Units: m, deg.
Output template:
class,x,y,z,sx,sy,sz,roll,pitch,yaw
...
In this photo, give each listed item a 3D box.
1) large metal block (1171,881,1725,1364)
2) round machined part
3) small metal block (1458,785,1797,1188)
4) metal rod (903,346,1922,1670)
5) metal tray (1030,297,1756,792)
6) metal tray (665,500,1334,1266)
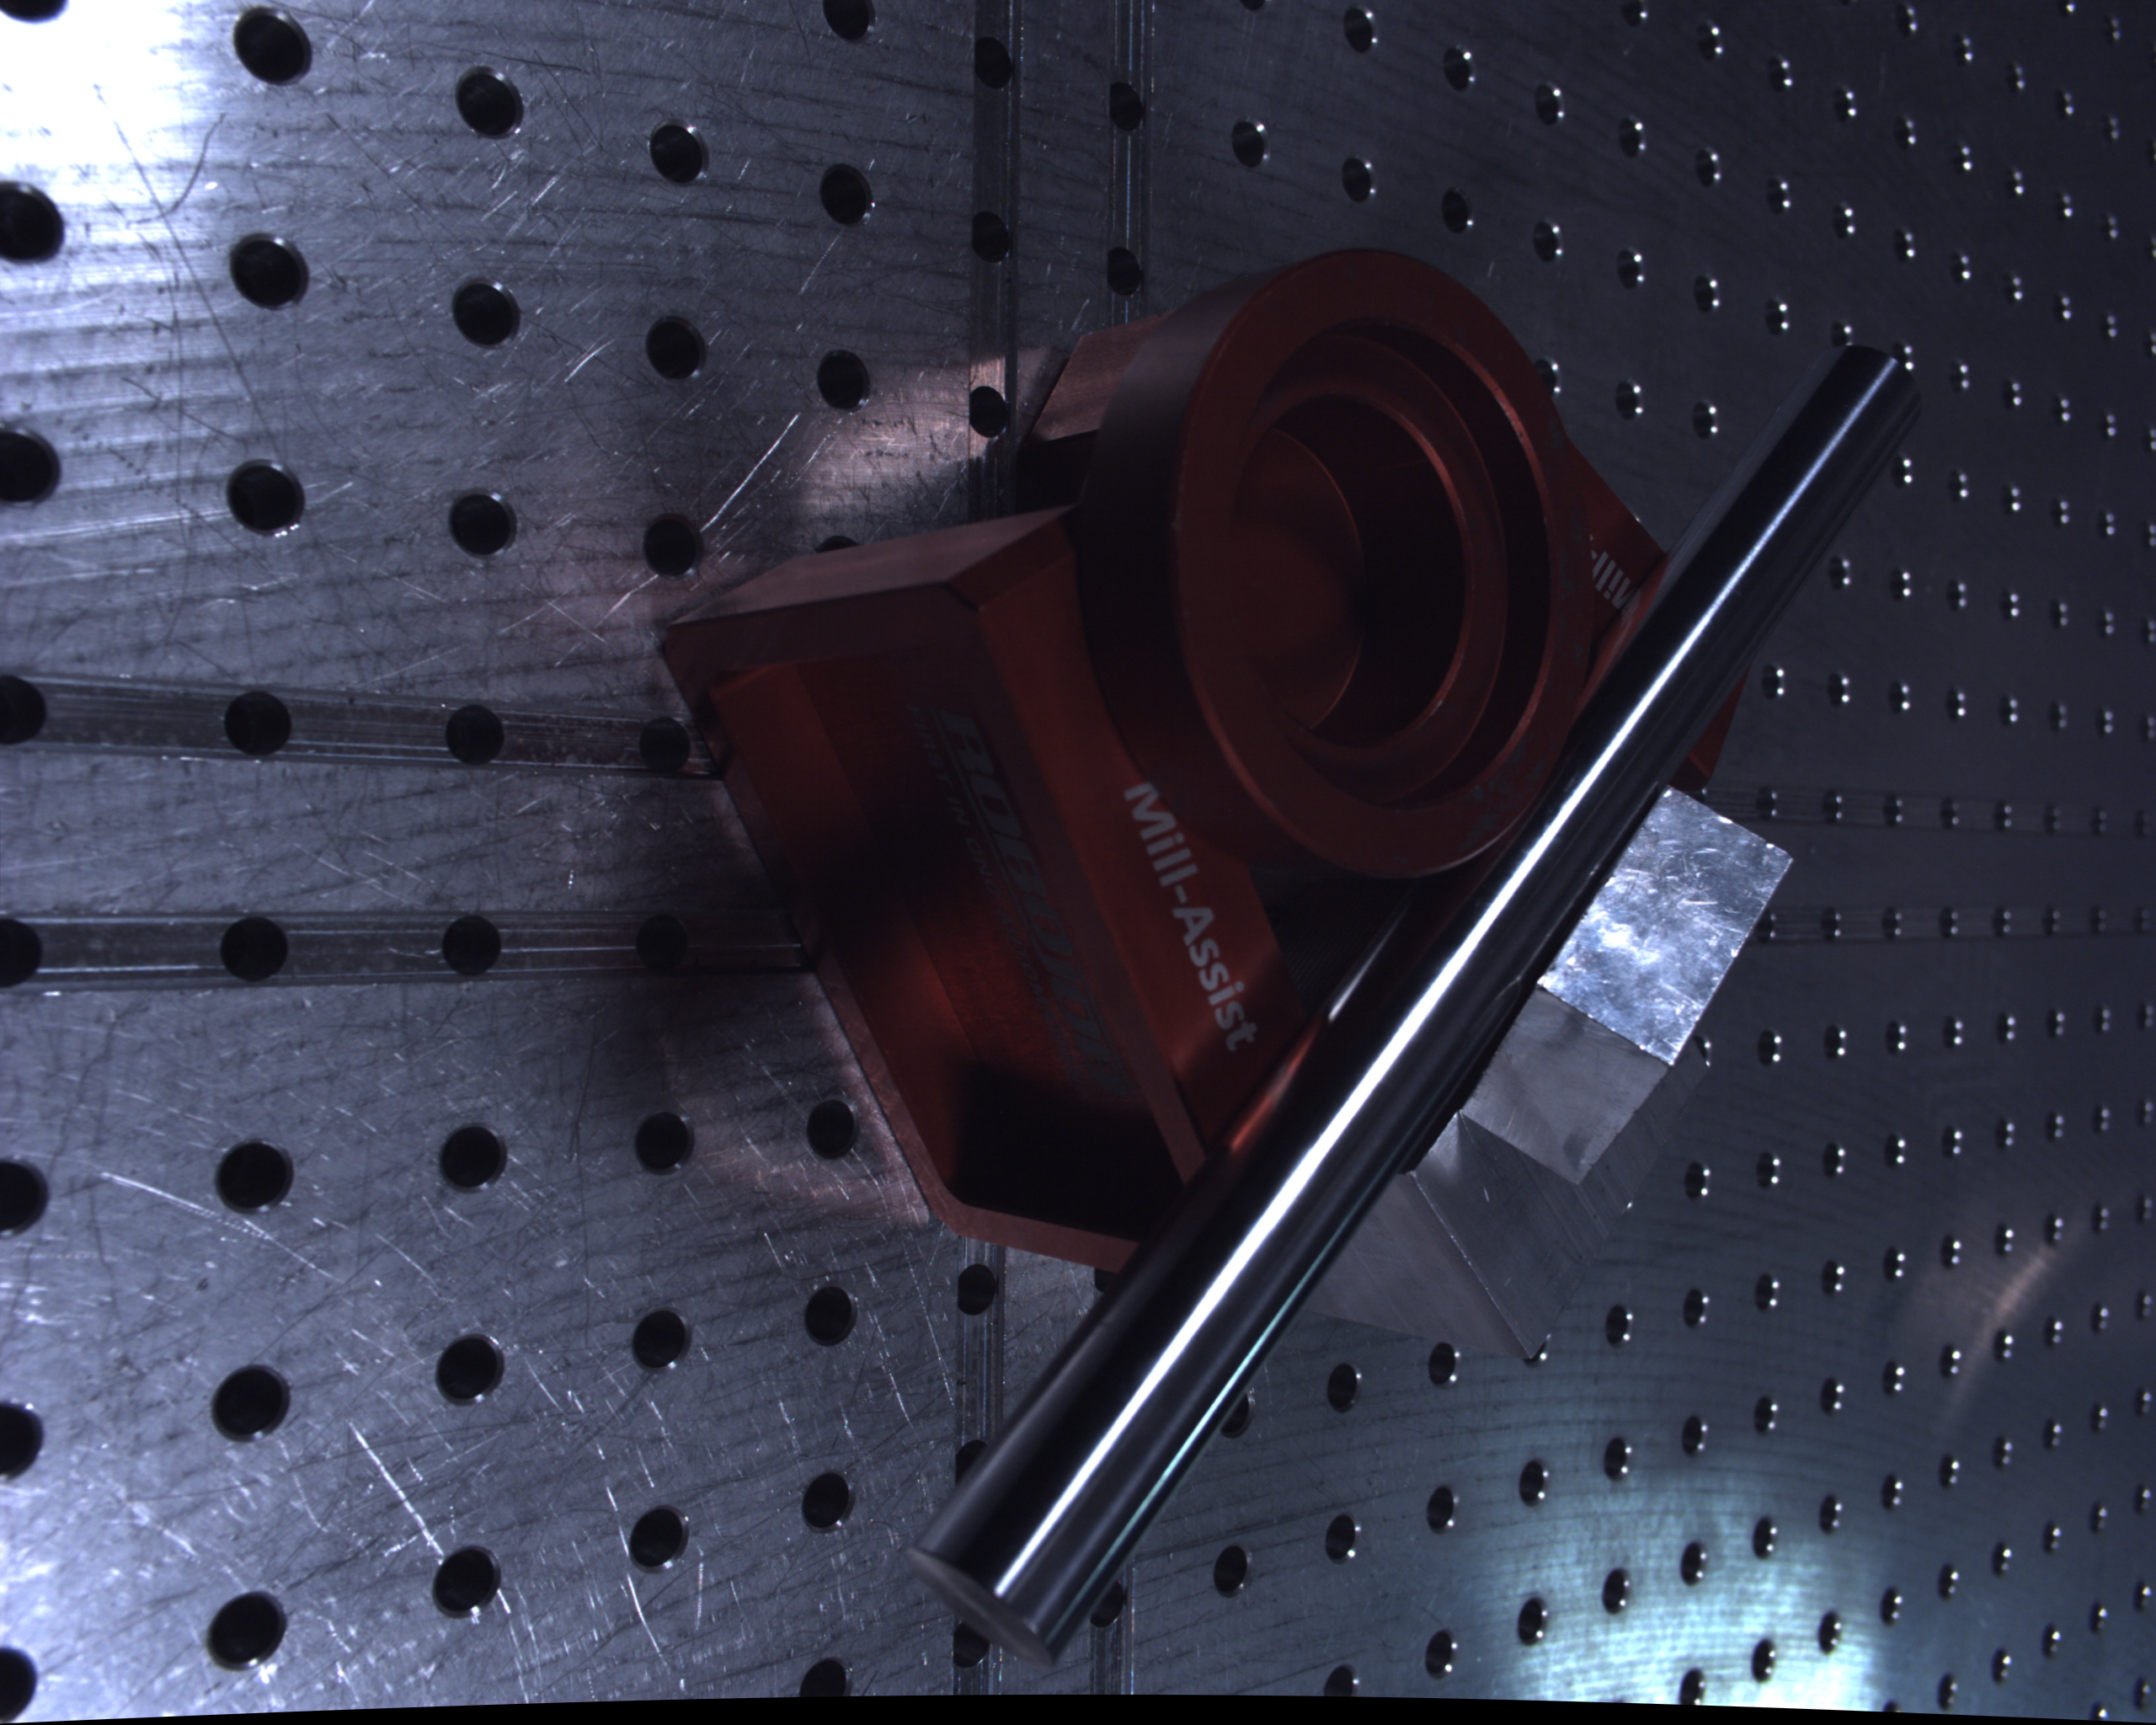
class,x,y,z,sx,sy,sz,roll,pitch,yaw
large metal block,0.072,0.049,0.432,0.080,0.080,0.050,-49,120,-29
round machined part,0.037,-0.047,0.341,0.099,0.042,0.097,0,90,-40
small metal block,0.096,0.023,0.369,0.025,0.050,0.050,33,61,13
metal rod,0.074,0.003,0.355,0.301,0.025,0.025,-48,119,-29
metal tray,0.065,-0.061,0.422,0.130,0.090,0.030,38,68,-34
metal tray,-0.011,0.008,0.359,0.030,0.090,0.129,-36,113,-34
